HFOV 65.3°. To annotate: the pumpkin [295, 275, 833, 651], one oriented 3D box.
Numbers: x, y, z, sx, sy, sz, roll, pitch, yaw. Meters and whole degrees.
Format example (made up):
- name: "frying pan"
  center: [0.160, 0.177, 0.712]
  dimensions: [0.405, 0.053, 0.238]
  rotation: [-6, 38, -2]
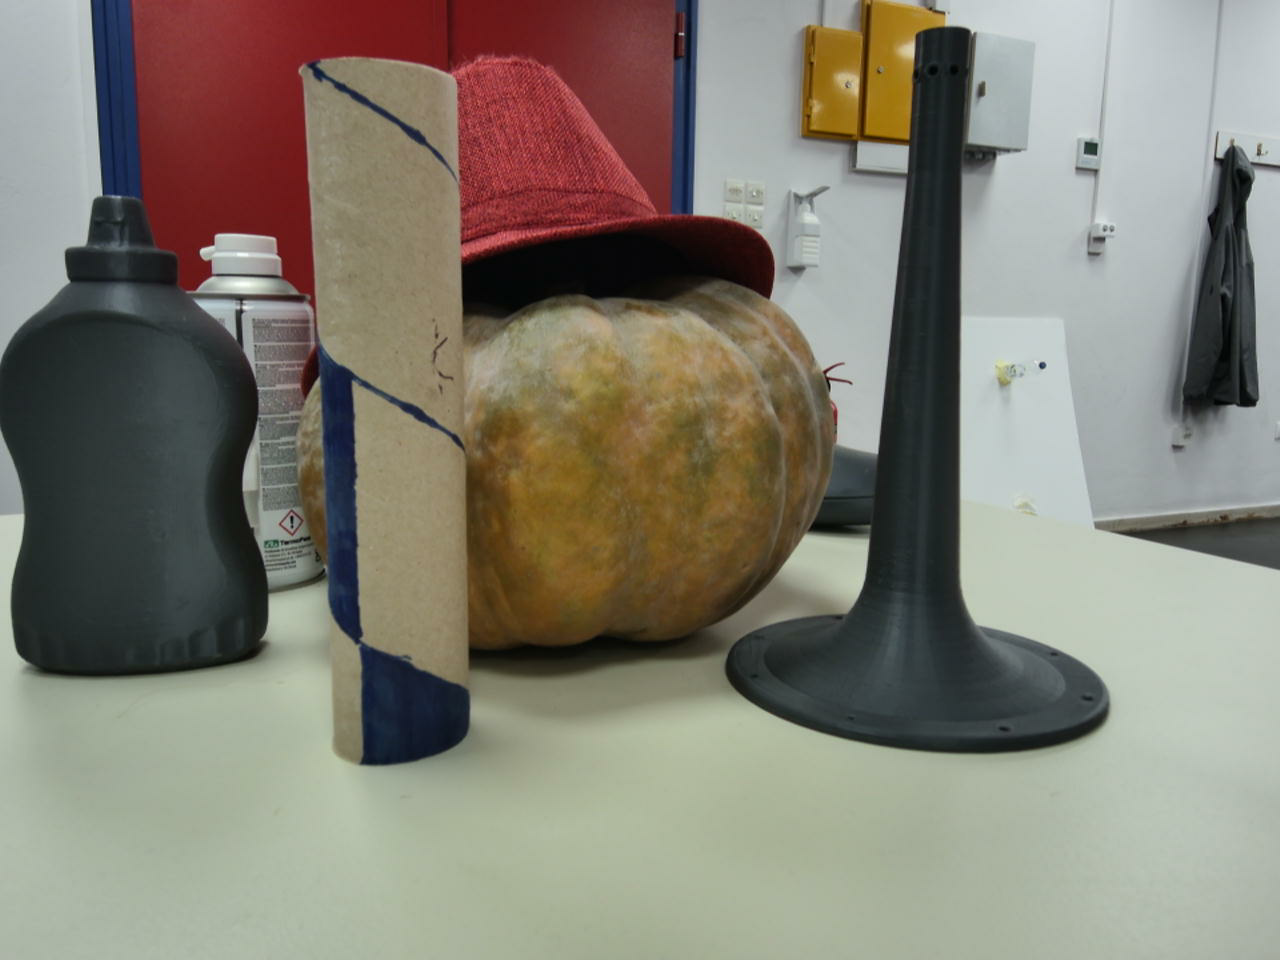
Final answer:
- name: "pumpkin"
  center: [-0.036, -0.014, 0.476]
  dimensions: [0.252, 0.168, 0.252]
  rotation: [0, 7, 0]
